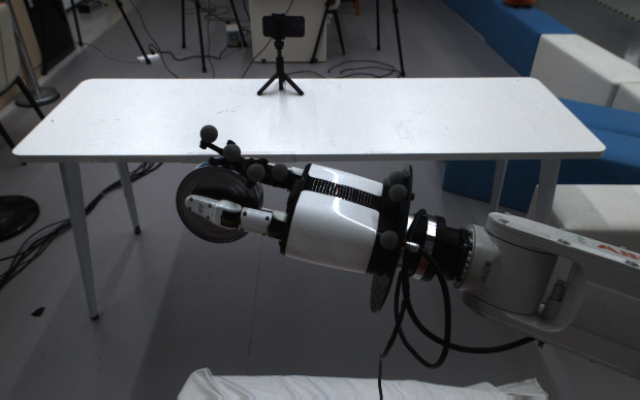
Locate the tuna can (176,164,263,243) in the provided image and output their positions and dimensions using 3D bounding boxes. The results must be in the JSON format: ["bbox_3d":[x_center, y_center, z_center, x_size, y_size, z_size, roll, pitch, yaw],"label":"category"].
[{"bbox_3d":[-0.102,0.000,0.509,0.085,0.085,0.034,4,20,3],"label":"tuna can"}]
